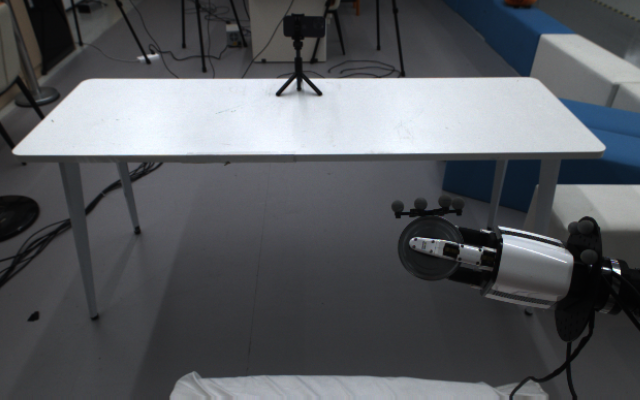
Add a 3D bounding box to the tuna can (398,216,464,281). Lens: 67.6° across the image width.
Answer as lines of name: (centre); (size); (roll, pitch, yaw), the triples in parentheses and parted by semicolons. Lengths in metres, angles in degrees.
tuna can: (0.150, 0.062, 0.647); (0.085, 0.085, 0.034); (11, -7, 12)
